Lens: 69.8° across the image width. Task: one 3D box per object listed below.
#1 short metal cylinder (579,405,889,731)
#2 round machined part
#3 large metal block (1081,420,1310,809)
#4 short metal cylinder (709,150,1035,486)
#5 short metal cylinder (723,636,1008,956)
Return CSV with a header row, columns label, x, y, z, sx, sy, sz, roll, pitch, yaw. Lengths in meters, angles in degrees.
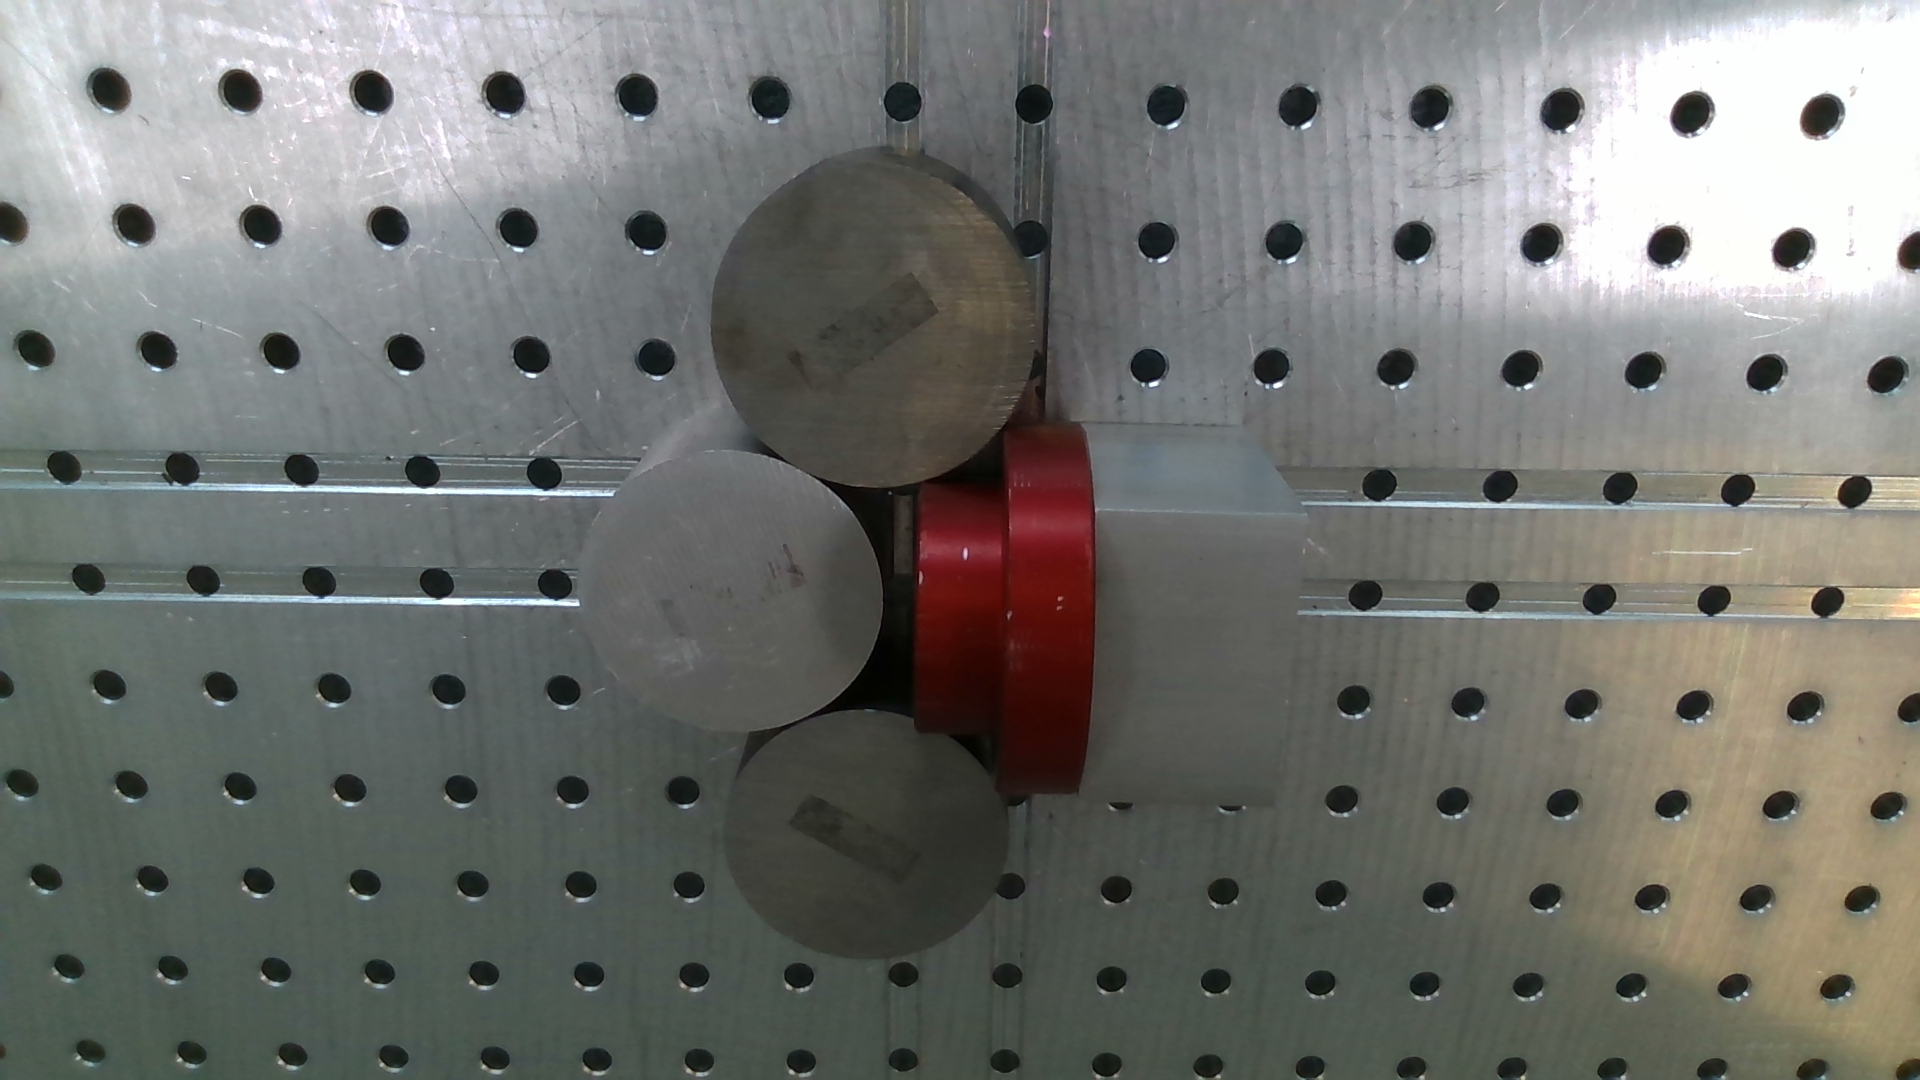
label,x,y,z,sx,sy,sz,roll,pitch,yaw
short metal cylinder,-0.060,0.006,0.385,0.080,0.050,0.080,0,110,0
round machined part,0.009,0.017,0.362,0.042,0.098,0.098,1,110,-1
large metal block,0.056,0.017,0.373,0.050,0.080,0.080,1,110,0
short metal cylinder,-0.021,-0.060,0.361,0.080,0.050,0.080,0,110,0
short metal cylinder,-0.026,0.075,0.411,0.080,0.050,0.080,0,110,0
